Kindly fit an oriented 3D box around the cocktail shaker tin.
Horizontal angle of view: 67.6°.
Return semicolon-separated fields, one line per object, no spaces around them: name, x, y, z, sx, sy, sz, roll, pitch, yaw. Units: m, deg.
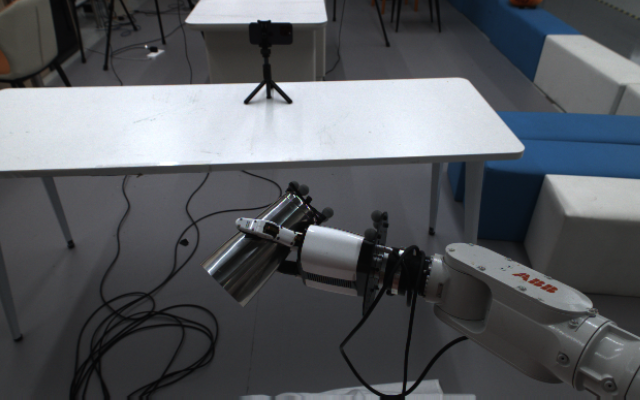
cocktail shaker tin;-0.087;0.064;0.733;0.170;0.093;0.093;-43;50;-14
